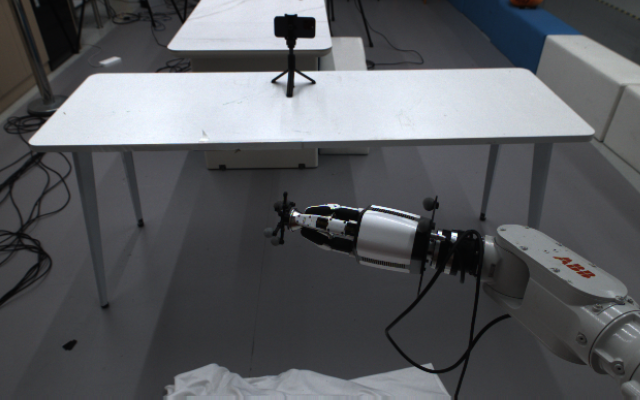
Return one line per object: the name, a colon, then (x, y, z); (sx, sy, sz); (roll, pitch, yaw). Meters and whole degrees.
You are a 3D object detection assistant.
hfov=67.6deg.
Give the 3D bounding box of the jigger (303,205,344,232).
jigger: (-0.006, 0.032, 0.783); (0.071, 0.043, 0.043); (7, 35, 16)
